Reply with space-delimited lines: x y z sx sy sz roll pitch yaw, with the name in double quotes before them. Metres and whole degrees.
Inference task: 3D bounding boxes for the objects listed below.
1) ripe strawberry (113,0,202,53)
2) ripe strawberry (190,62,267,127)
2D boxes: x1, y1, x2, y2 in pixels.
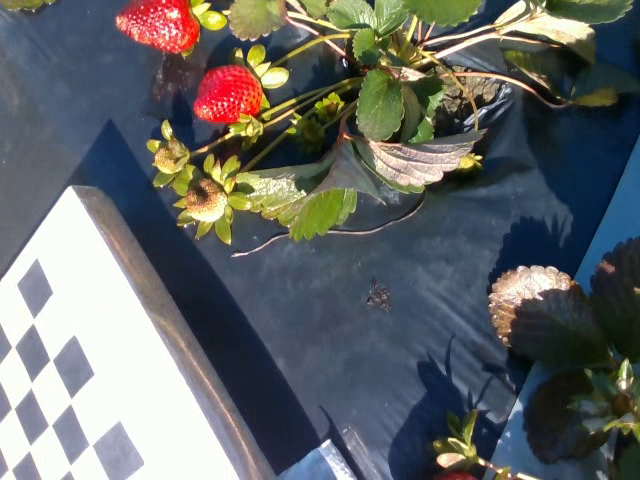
"ripe strawberry" -0.099 -0.132 0.373 0.050 0.051 0.044 -13 -12 -36
"ripe strawberry" -0.054 -0.078 0.350 0.042 0.039 0.049 7 32 34
